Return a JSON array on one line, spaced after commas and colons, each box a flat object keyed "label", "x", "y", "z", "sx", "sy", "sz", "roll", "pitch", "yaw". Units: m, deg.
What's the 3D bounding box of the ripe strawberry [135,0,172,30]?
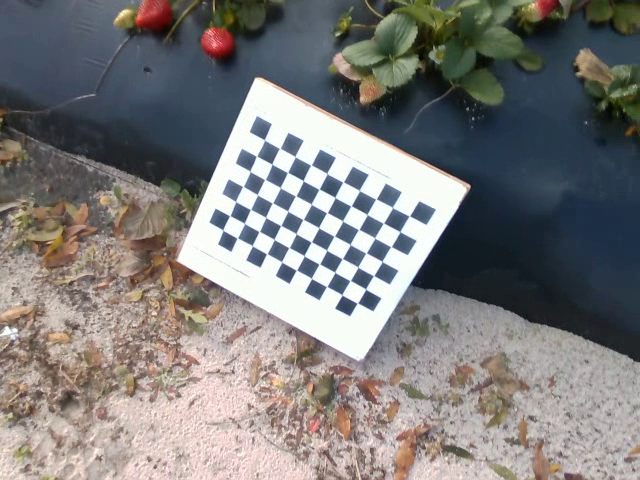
[{"label": "ripe strawberry", "x": -0.161, "y": -0.216, "z": 0.810, "sx": 0.035, "sy": 0.041, "sz": 0.036, "roll": 14, "pitch": 38, "yaw": 20}]

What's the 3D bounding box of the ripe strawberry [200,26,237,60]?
[{"label": "ripe strawberry", "x": -0.098, "y": -0.187, "z": 0.797, "sx": 0.034, "sy": 0.037, "sz": 0.039, "roll": 30, "pitch": 29, "yaw": -9}]
